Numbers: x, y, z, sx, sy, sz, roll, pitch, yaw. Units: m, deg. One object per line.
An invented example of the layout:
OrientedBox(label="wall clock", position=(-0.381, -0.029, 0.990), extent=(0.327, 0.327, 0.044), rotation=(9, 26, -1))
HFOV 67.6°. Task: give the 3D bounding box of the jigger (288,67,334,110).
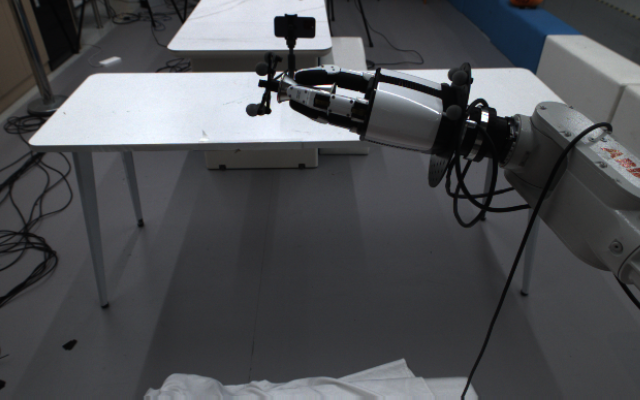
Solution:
OrientedBox(label="jigger", position=(-0.015, -0.141, 0.626), extent=(0.071, 0.043, 0.043), rotation=(14, 36, 4))
